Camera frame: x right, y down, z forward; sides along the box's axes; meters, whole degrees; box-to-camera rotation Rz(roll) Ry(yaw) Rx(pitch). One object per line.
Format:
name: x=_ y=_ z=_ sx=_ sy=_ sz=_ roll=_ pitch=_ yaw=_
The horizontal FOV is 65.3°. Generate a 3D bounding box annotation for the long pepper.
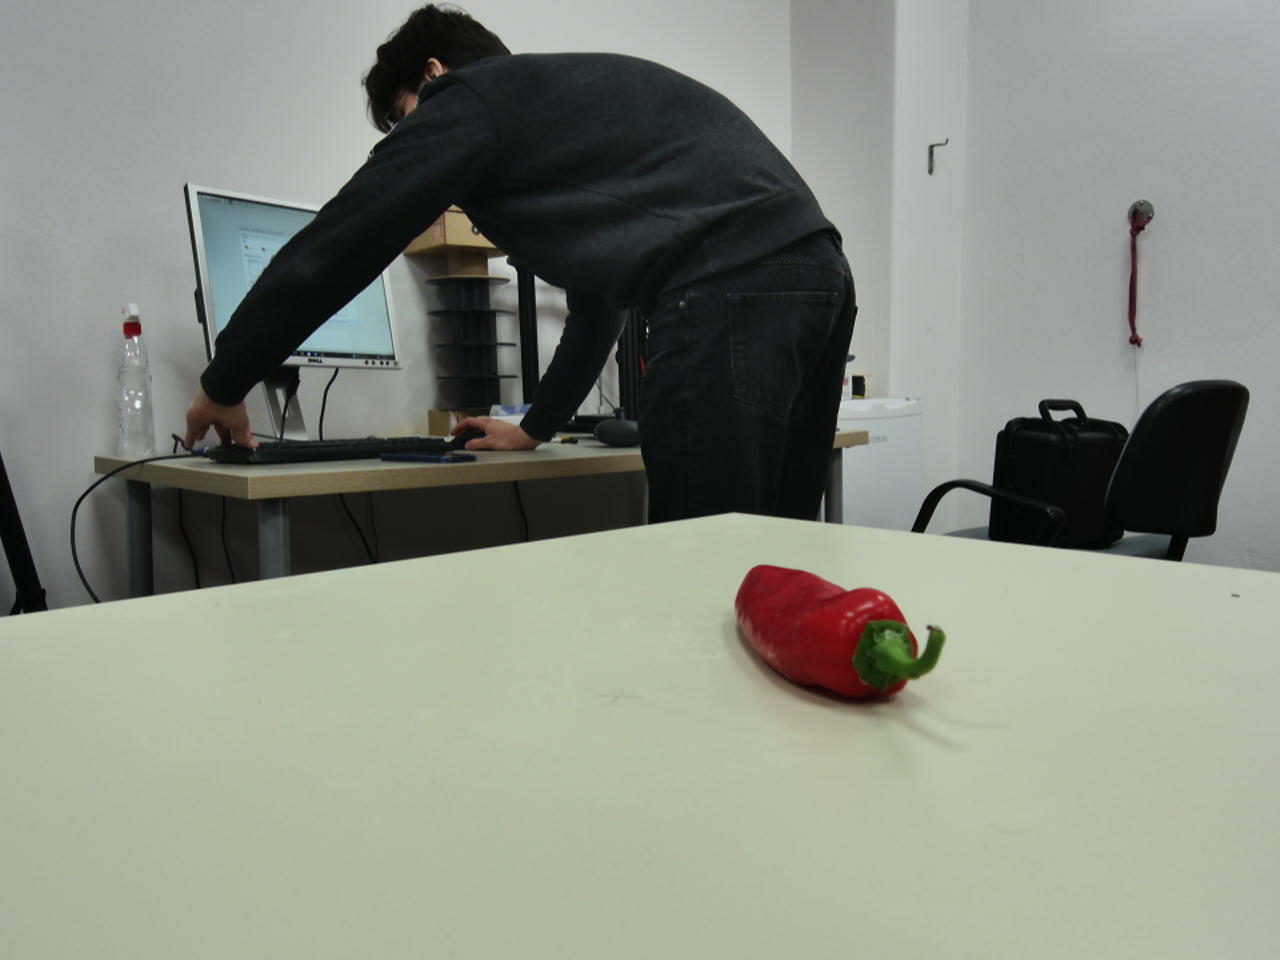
long pepper: x=0.076 y=0.062 z=0.448 sx=0.050 sy=0.043 sz=0.211 roll=0 pitch=3 yaw=-9
